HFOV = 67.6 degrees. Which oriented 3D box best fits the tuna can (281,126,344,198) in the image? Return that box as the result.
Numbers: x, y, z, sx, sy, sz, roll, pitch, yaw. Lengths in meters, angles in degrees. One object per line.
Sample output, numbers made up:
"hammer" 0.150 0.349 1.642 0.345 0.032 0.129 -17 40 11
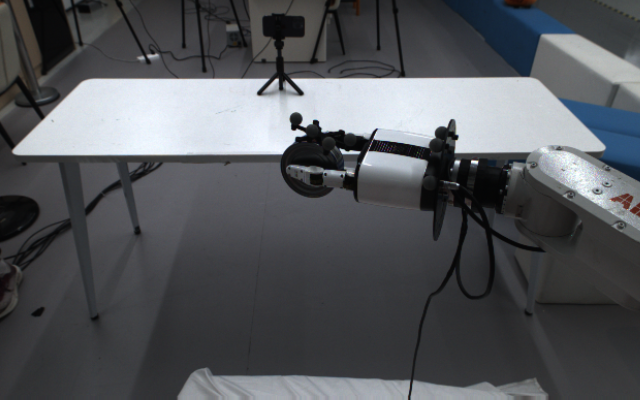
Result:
"tuna can" -0.010 -0.048 0.685 0.085 0.085 0.034 12 30 15
